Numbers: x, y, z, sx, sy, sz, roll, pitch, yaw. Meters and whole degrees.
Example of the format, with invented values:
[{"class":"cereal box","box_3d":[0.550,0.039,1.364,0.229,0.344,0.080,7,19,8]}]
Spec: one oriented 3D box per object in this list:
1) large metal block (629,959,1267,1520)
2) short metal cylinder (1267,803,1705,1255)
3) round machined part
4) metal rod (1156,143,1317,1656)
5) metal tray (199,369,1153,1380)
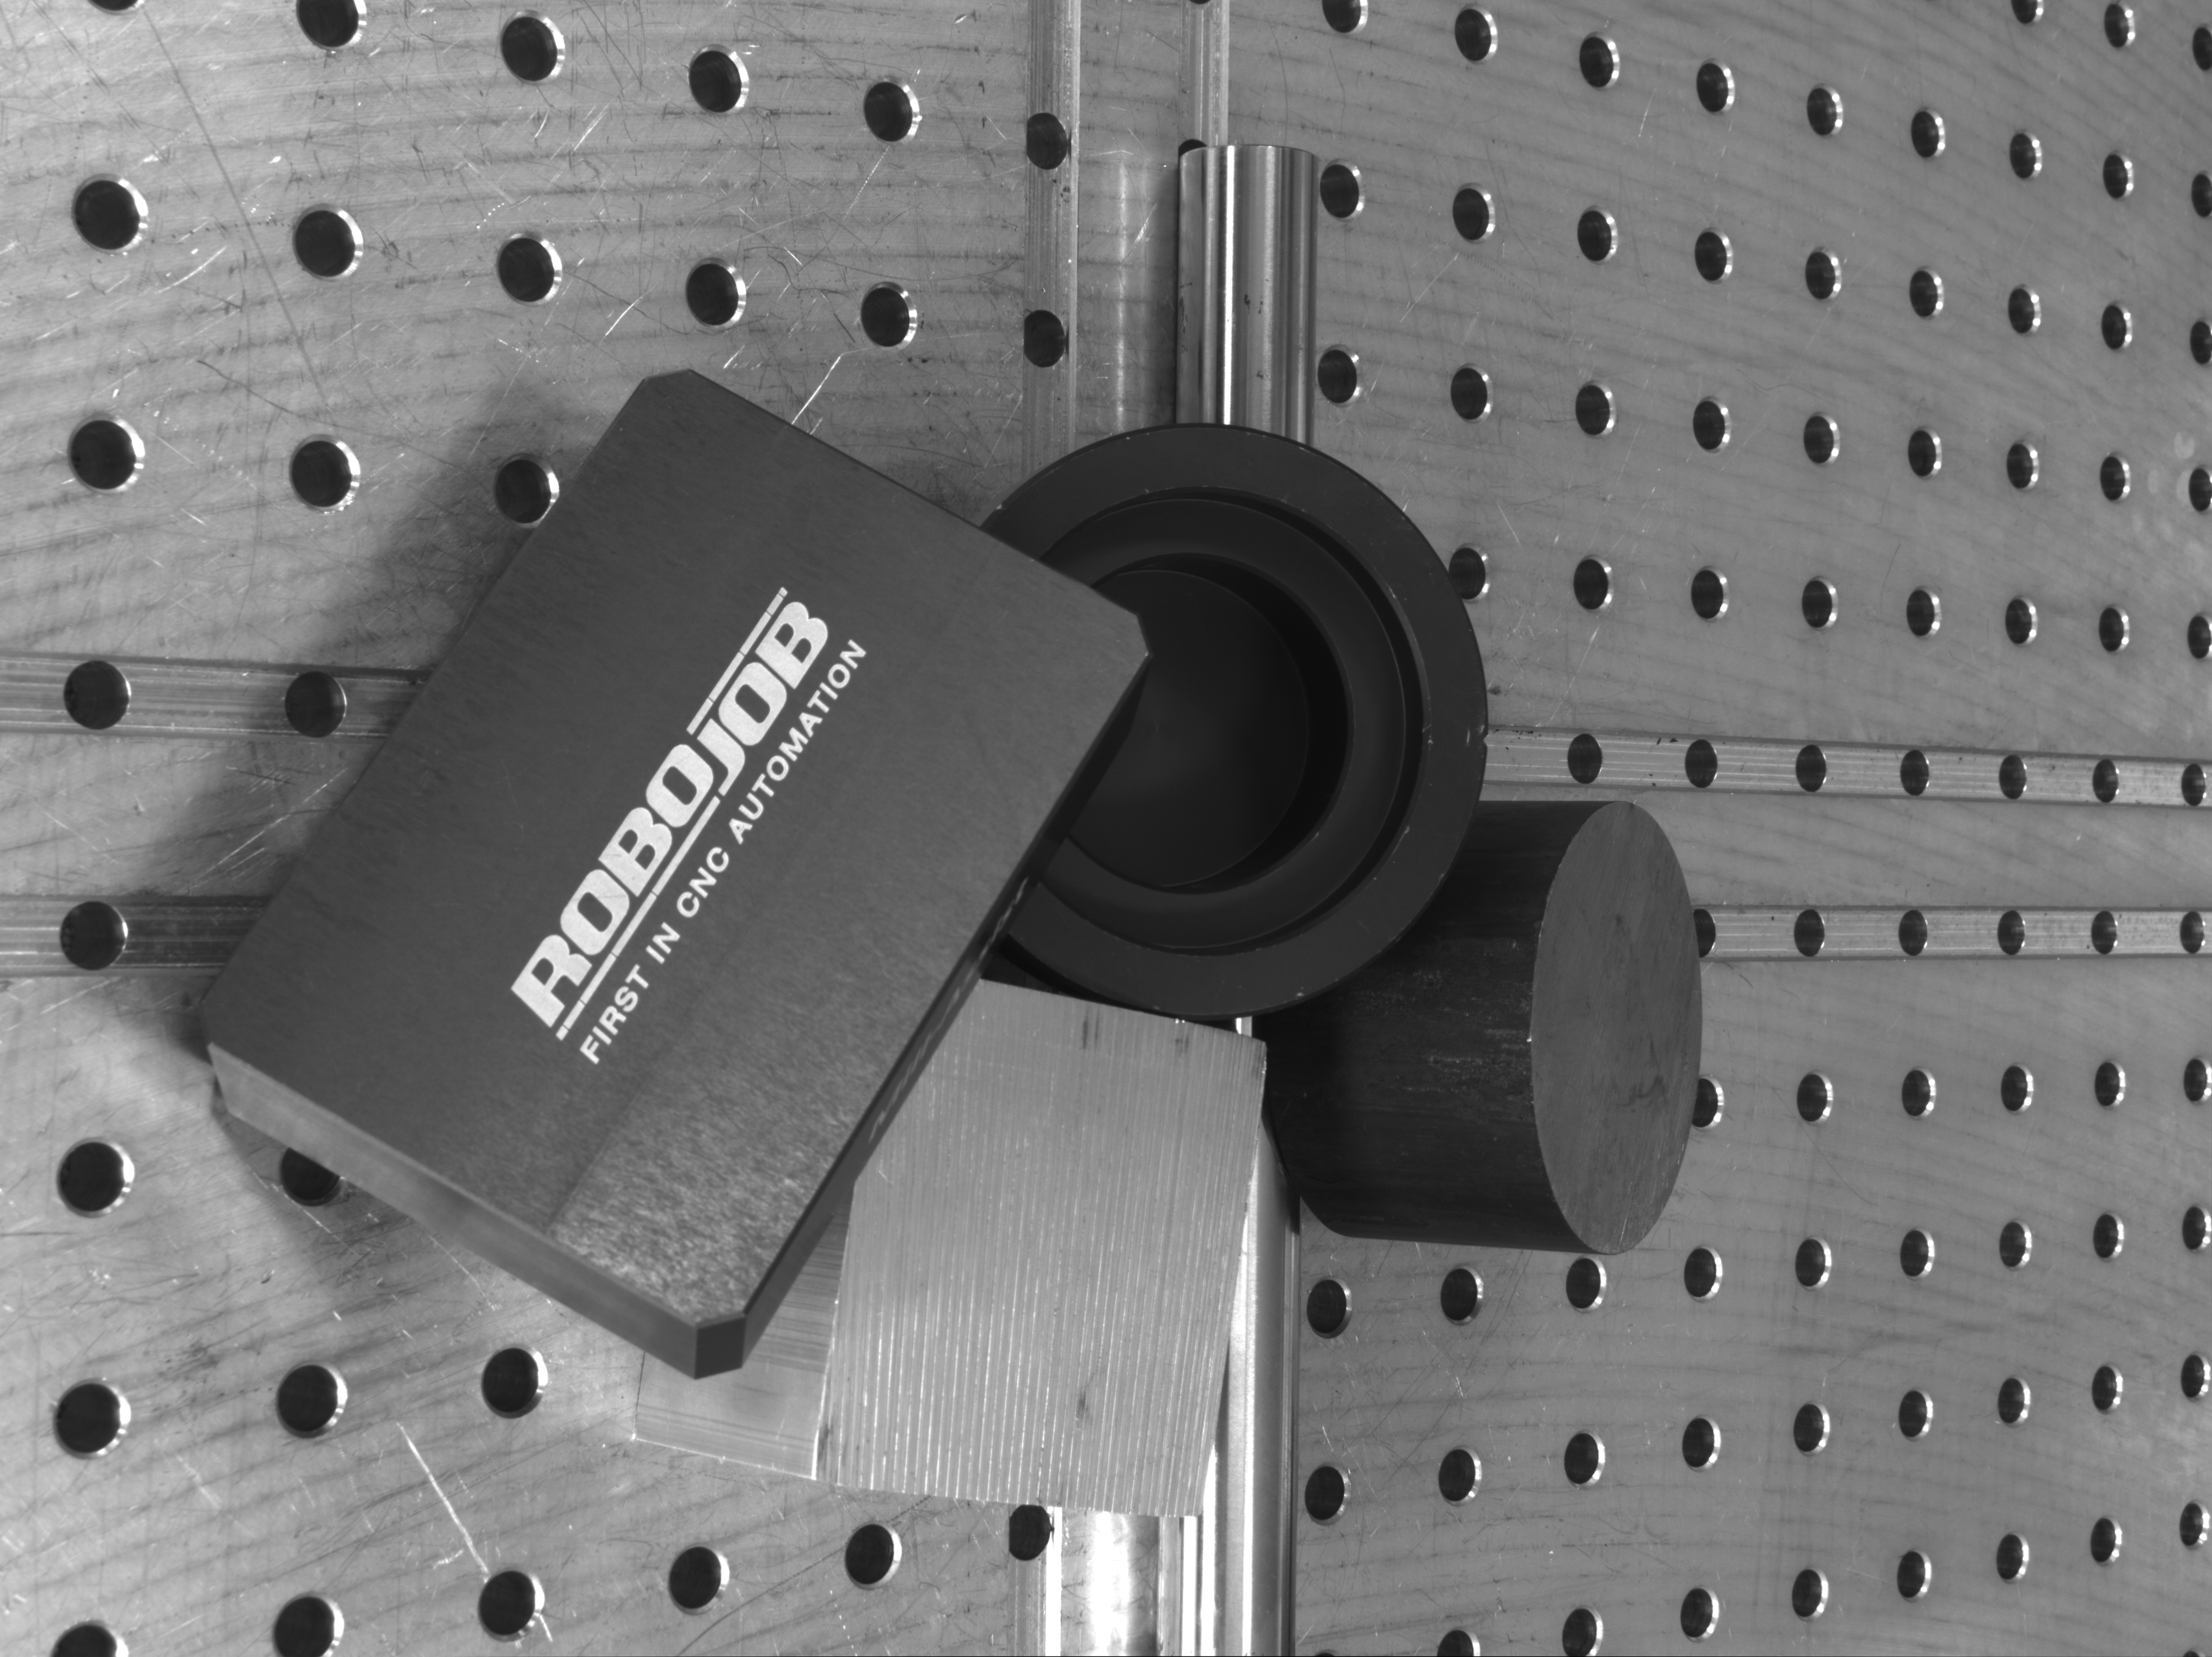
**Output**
[{"class":"large metal block","box_3d":[-0.025,0.067,0.602,0.080,0.050,0.080,14,81,-39]},{"class":"short metal cylinder","box_3d":[0.070,0.035,0.664,0.080,0.050,0.080,0,90,-60]},{"class":"round machined part","box_3d":[0.012,-0.017,0.622,0.098,0.042,0.098,0,89,-14]},{"class":"metal rod","box_3d":[0.023,0.029,0.659,0.025,0.025,0.300,2,89,-40]},{"class":"metal tray","box_3d":[-0.062,0.005,0.553,0.090,0.030,0.130,29,67,5]}]
